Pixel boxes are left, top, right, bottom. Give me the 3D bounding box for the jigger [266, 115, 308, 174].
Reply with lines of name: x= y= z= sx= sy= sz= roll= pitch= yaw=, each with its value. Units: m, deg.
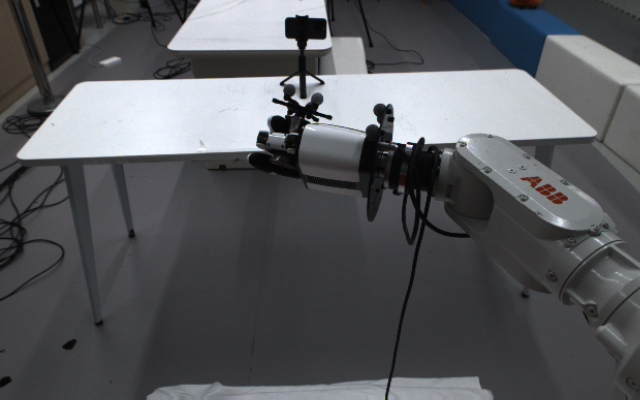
jigger: x=-0.041 y=-0.082 z=0.682 sx=0.043 sy=0.071 sz=0.043 roll=18 pitch=-6 yaw=2
